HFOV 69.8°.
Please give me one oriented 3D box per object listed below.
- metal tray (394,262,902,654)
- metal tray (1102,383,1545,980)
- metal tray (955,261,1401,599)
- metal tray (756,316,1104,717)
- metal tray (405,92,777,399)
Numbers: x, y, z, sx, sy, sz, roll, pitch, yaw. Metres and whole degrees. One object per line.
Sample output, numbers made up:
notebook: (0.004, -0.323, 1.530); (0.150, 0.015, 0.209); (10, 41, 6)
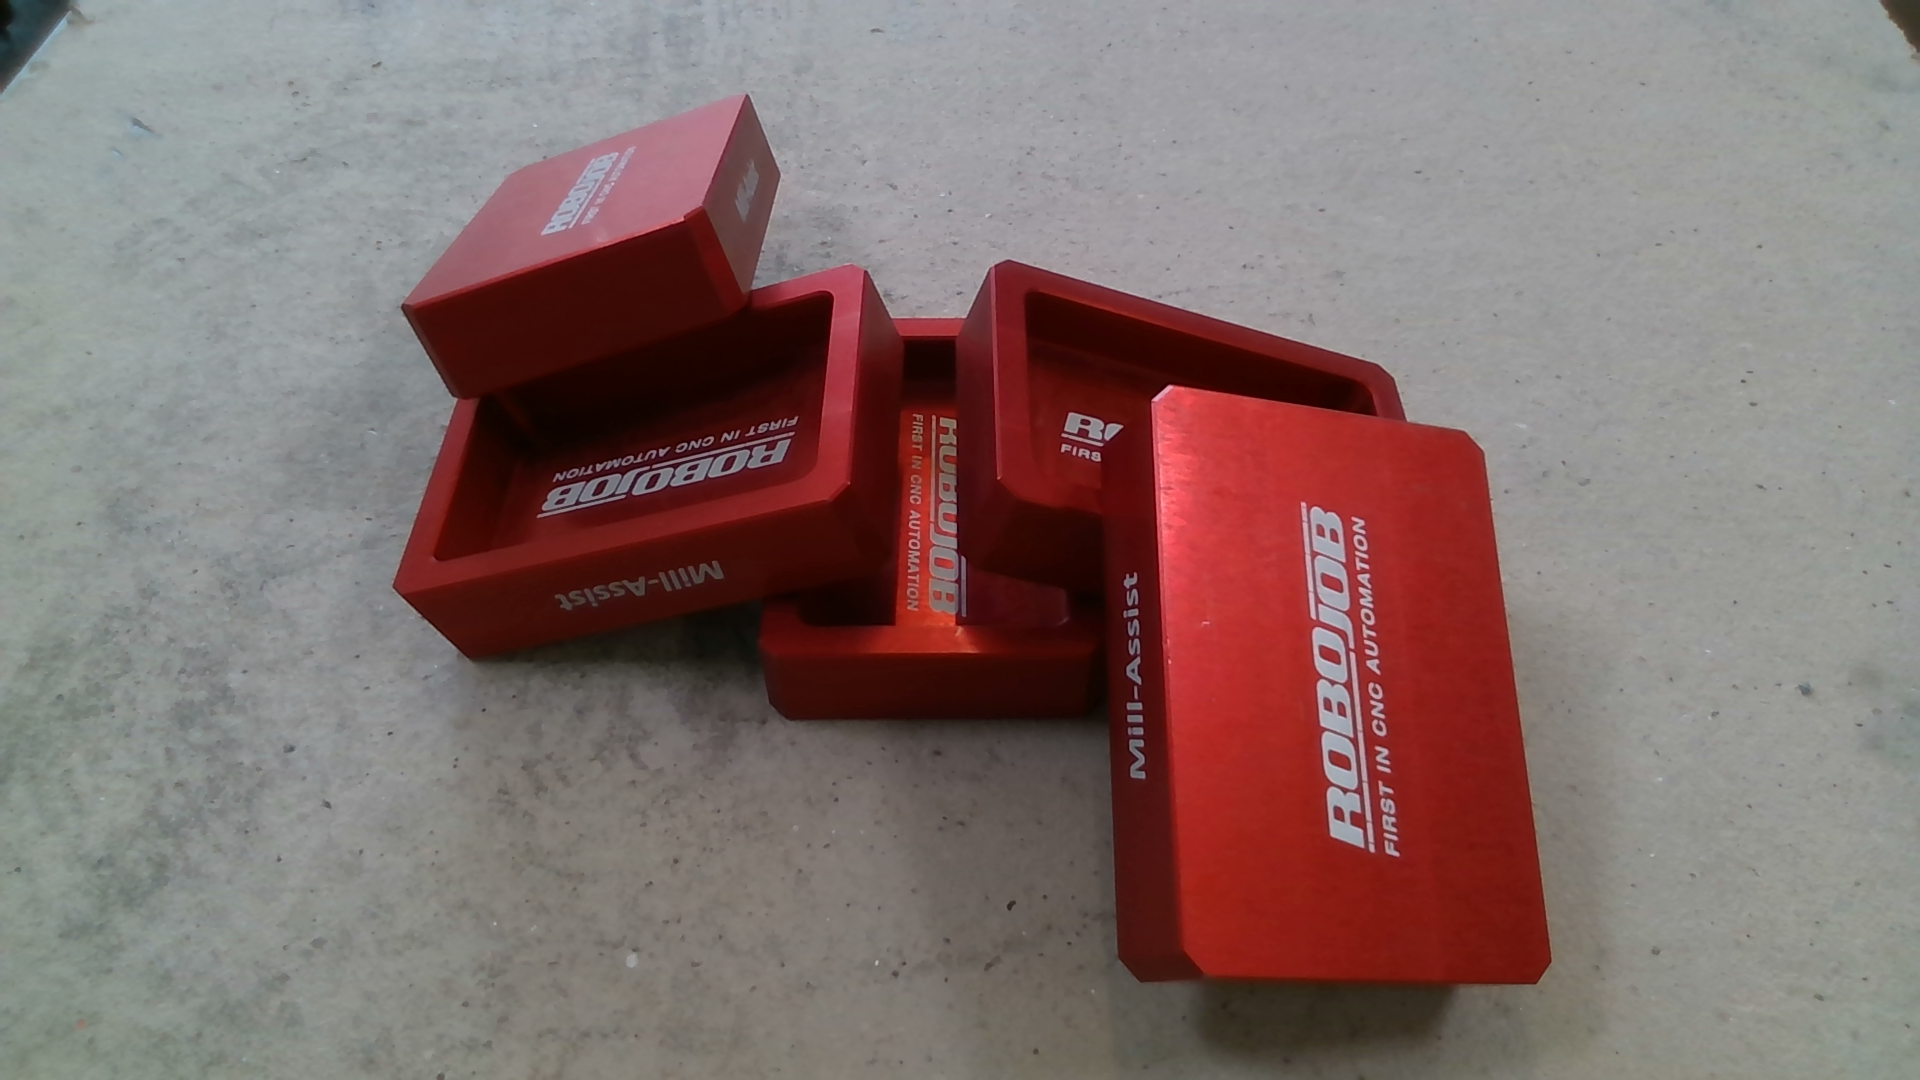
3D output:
metal tray: (-0.083, -0.023, 0.383); (0.130, 0.030, 0.090); (-12, 48, 15)
metal tray: (0.082, 0.034, 0.320); (0.090, 0.030, 0.130); (7, 70, -18)
metal tray: (0.065, -0.023, 0.383); (0.130, 0.030, 0.090); (13, 49, -15)
metal tray: (-0.007, -0.011, 0.400); (0.090, 0.030, 0.130); (0, 50, 0)
metal tray: (-0.109, -0.097, 0.433); (0.090, 0.030, 0.130); (-16, 32, 8)
